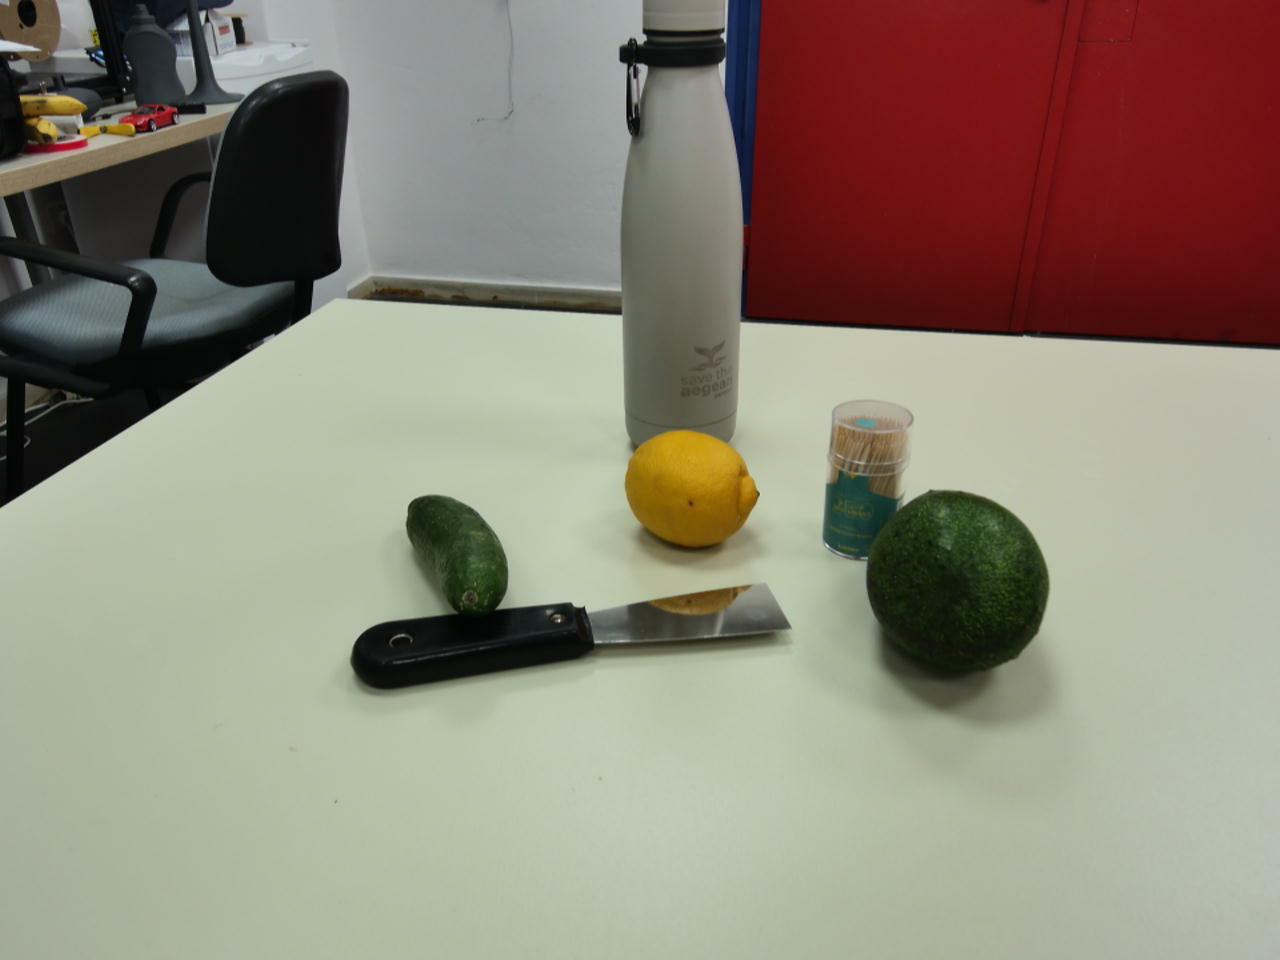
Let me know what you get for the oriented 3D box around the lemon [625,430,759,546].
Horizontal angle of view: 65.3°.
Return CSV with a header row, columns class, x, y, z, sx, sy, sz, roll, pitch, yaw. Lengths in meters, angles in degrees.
class,x,y,z,sx,sy,sz,roll,pitch,yaw
lemon,0.025,0.005,0.524,0.060,0.059,0.067,-17,30,-32
